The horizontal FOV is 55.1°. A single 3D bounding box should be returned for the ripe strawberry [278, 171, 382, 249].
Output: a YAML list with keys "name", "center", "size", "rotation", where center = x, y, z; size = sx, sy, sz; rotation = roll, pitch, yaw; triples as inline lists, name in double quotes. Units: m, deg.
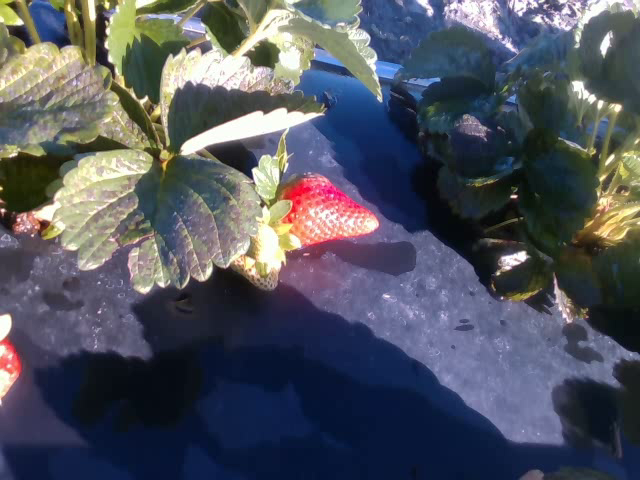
- name: "ripe strawberry"
  center: [0.003, -0.014, 0.326]
  size: [0.064, 0.050, 0.052]
  rotation: [12, -5, -3]
